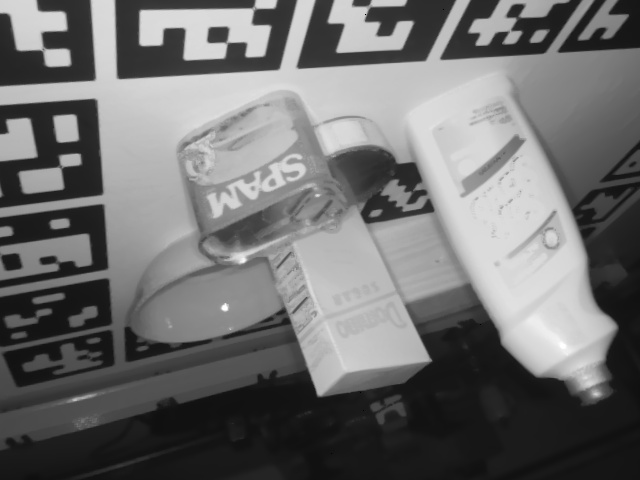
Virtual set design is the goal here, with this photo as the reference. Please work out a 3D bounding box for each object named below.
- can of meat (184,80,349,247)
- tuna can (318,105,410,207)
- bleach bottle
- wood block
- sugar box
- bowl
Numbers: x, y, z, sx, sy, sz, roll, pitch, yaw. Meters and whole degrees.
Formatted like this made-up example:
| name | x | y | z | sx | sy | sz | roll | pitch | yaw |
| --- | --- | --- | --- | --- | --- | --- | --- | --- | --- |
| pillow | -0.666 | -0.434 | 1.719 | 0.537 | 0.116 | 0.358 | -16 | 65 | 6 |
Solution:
| name | x | y | z | sx | sy | sz | roll | pitch | yaw |
| --- | --- | --- | --- | --- | --- | --- | --- | --- | --- |
| can of meat | -0.041 | -0.055 | 0.499 | 0.101 | 0.084 | 0.058 | -23 | 152 | 5 |
| tuna can | 0.027 | -0.067 | 0.560 | 0.086 | 0.034 | 0.085 | -17 | 146 | -11 |
| bleach bottle | 0.158 | -0.011 | 0.526 | 0.103 | 0.251 | 0.068 | -22 | 150 | 1 |
| wood block | 0.141 | 0.038 | 0.754 | 0.208 | 0.090 | 0.090 | -13 | 144 | -13 |
| sugar box | 0.016 | 0.028 | 0.563 | 0.094 | 0.176 | 0.044 | 3 | 140 | -40 |
| bowl | -0.095 | 0.036 | 0.629 | 0.163 | 0.055 | 0.160 | -20 | 151 | -11 |
